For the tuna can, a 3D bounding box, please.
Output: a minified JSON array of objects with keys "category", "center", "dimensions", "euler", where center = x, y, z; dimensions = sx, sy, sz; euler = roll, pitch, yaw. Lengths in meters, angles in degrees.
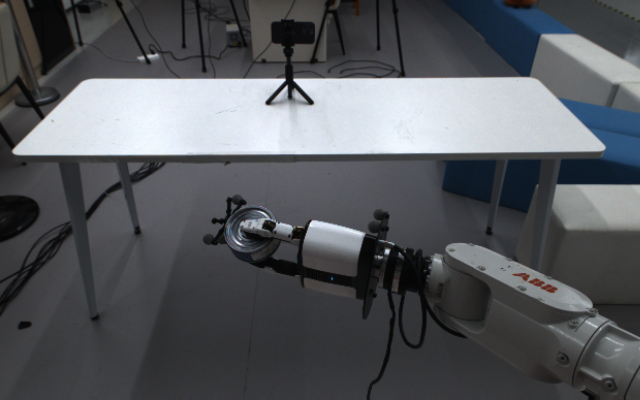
[{"category":"tuna can","center":[-0.102,0.050,0.751],"dimensions":[0.085,0.034,0.085],"euler":[-3,59,5]}]
